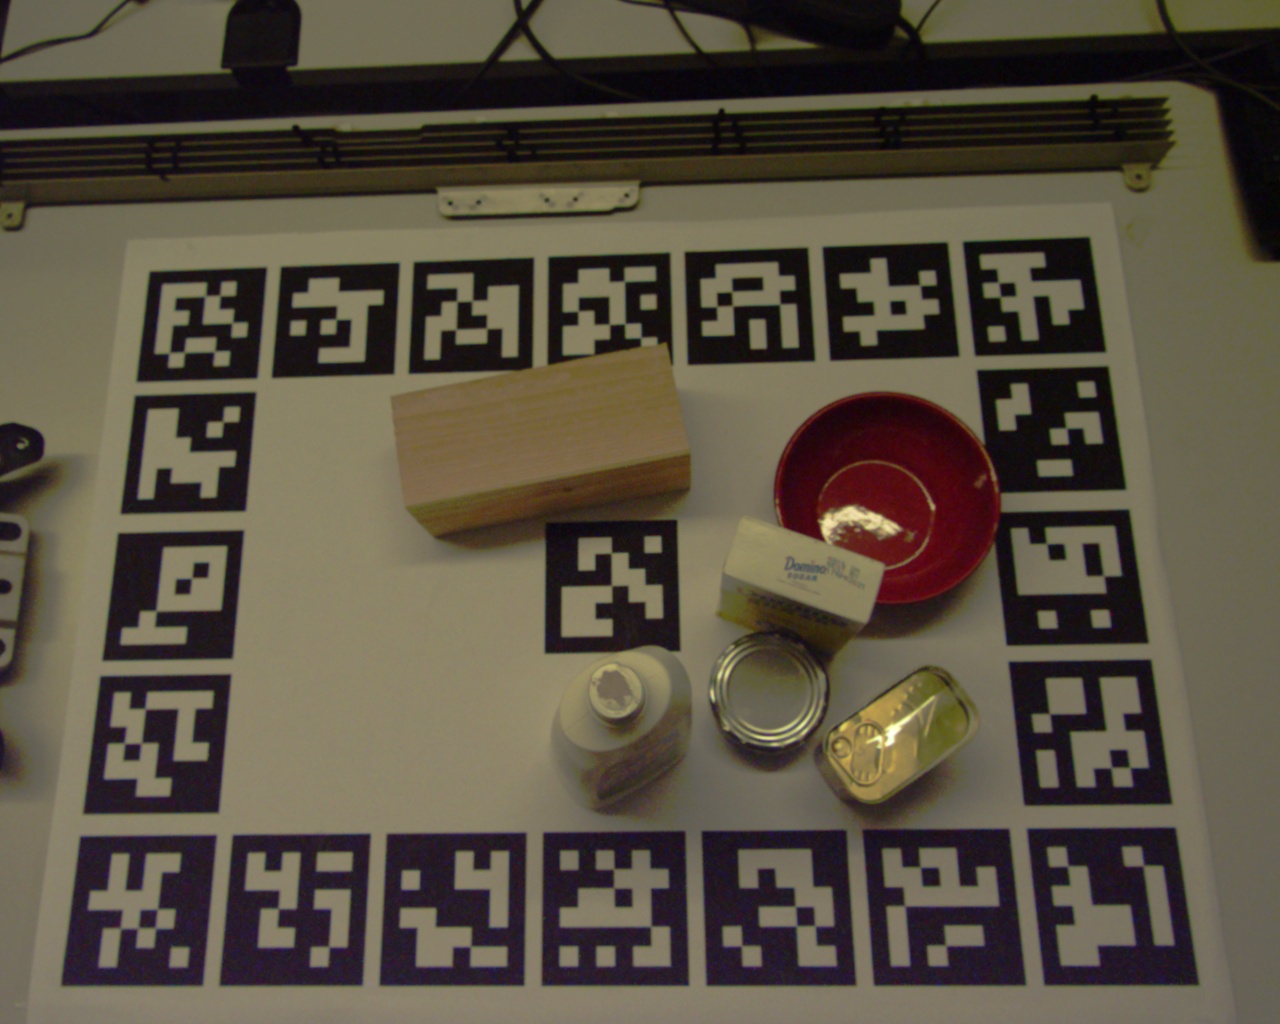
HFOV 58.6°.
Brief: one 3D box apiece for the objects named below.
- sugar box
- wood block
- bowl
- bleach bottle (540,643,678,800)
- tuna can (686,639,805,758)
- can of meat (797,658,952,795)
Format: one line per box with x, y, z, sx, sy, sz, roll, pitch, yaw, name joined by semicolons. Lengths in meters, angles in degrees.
0.096;0.059;0.791;0.093;0.175;0.045;19;77;11;sugar box
-0.083;-0.045;0.885;0.206;0.089;0.091;-10;77;-1;wood block
0.177;-0.004;0.871;0.162;0.055;0.162;-2;73;7;bowl
-0.026;0.134;0.741;0.102;0.250;0.068;-26;73;-5;bleach bottle
0.077;0.139;0.842;0.086;0.033;0.086;-1;76;4;tuna can
0.162;0.156;0.812;0.101;0.083;0.058;-30;71;-8;can of meat
